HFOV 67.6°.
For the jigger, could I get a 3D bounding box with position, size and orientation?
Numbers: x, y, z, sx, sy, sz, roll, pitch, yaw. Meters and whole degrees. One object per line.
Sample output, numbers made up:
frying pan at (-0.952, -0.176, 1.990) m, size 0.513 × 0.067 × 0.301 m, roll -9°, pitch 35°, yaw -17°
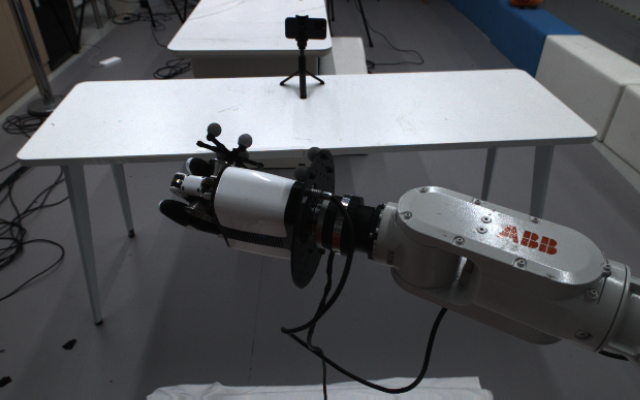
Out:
jigger at (-0.127, -0.012, 0.583) m, size 0.043 × 0.043 × 0.071 m, roll 15°, pitch 71°, yaw 18°
